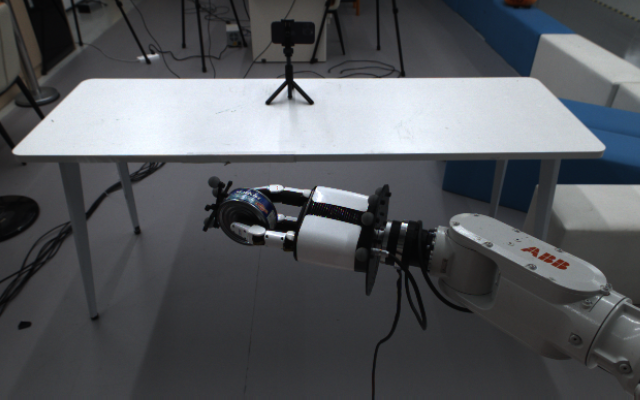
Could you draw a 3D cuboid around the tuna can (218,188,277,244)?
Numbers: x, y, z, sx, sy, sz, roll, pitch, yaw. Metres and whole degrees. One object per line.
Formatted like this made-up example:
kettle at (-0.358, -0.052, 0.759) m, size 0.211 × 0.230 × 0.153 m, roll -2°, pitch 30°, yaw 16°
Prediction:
tuna can at (-0.106, 0.021, 0.721) m, size 0.085 × 0.085 × 0.034 m, roll 9°, pitch 36°, yaw 10°
